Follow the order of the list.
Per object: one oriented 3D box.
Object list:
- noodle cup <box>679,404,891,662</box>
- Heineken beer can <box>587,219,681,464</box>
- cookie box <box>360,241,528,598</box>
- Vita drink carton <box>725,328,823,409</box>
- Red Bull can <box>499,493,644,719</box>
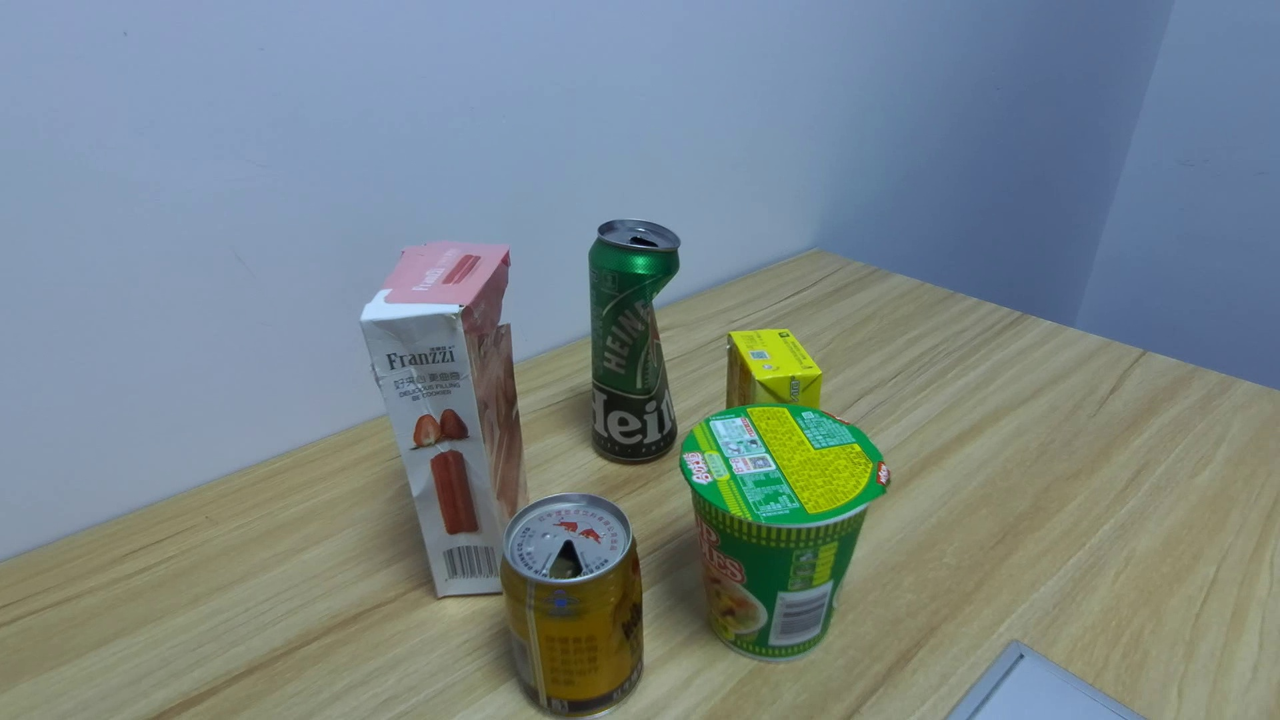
[{"bbox_3d":[0.069,0.094,0.366,0.097,0.110,0.097,-1,28,1],"label":"noodle cup"},{"bbox_3d":[-0.002,-0.010,0.499,0.069,0.168,0.069,-21,36,-36],"label":"Heineken beer can"},{"bbox_3d":[-0.102,0.036,0.406,0.059,0.186,0.105,0,28,0],"label":"cookie box"},{"bbox_3d":[0.083,0.039,0.465,0.043,0.109,0.076,-6,30,-8],"label":"Vita drink carton"},{"bbox_3d":[-0.032,0.120,0.348,0.068,0.093,0.068,-2,29,1],"label":"Red Bull can"}]
